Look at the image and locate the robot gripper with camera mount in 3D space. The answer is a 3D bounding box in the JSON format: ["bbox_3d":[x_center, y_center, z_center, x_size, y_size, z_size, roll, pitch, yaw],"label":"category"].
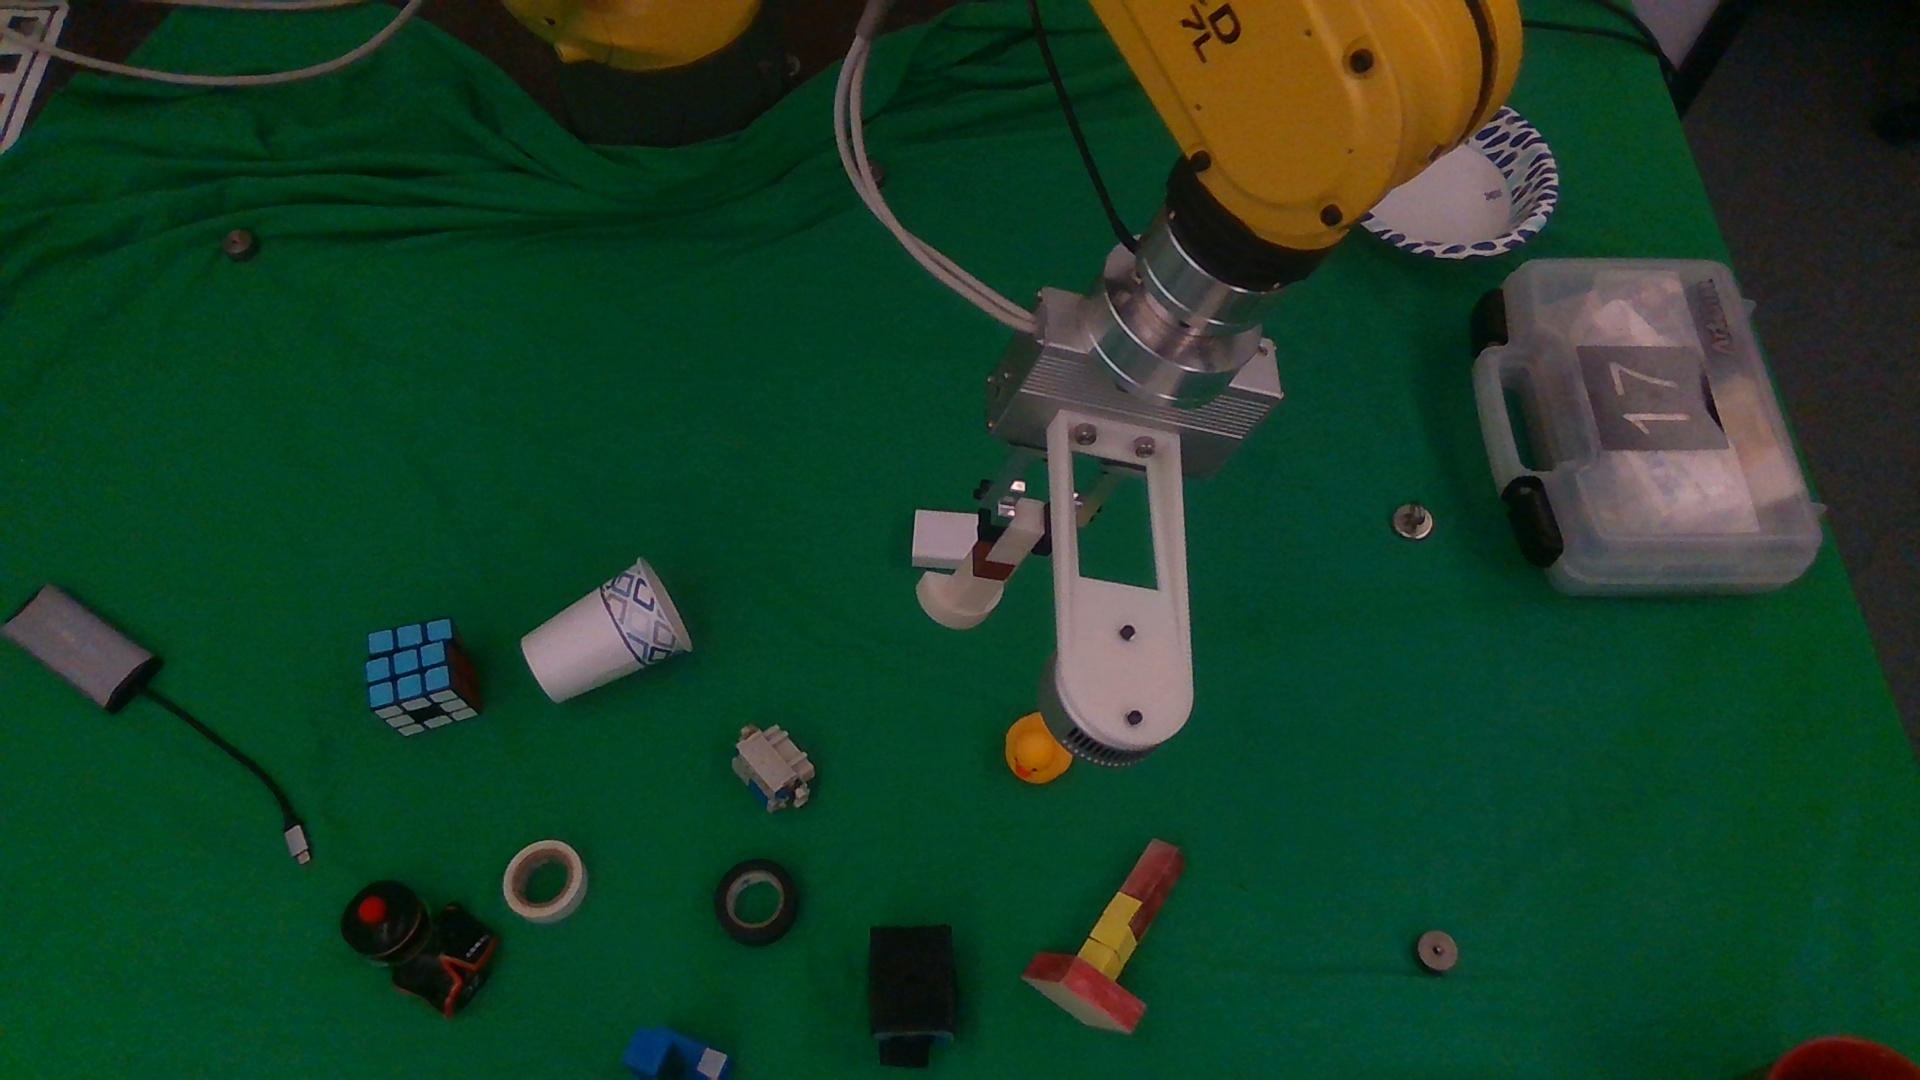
[{"bbox_3d":[0.063,0.028,0.652,0.119,0.159,0.193,10,55,-14],"label":"robot gripper with camera mount"}]

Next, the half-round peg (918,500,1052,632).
[{"bbox_3d":[0.019,0.014,0.786,0.054,0.122,0.031,12,59,-15],"label":"half-round peg"}]
